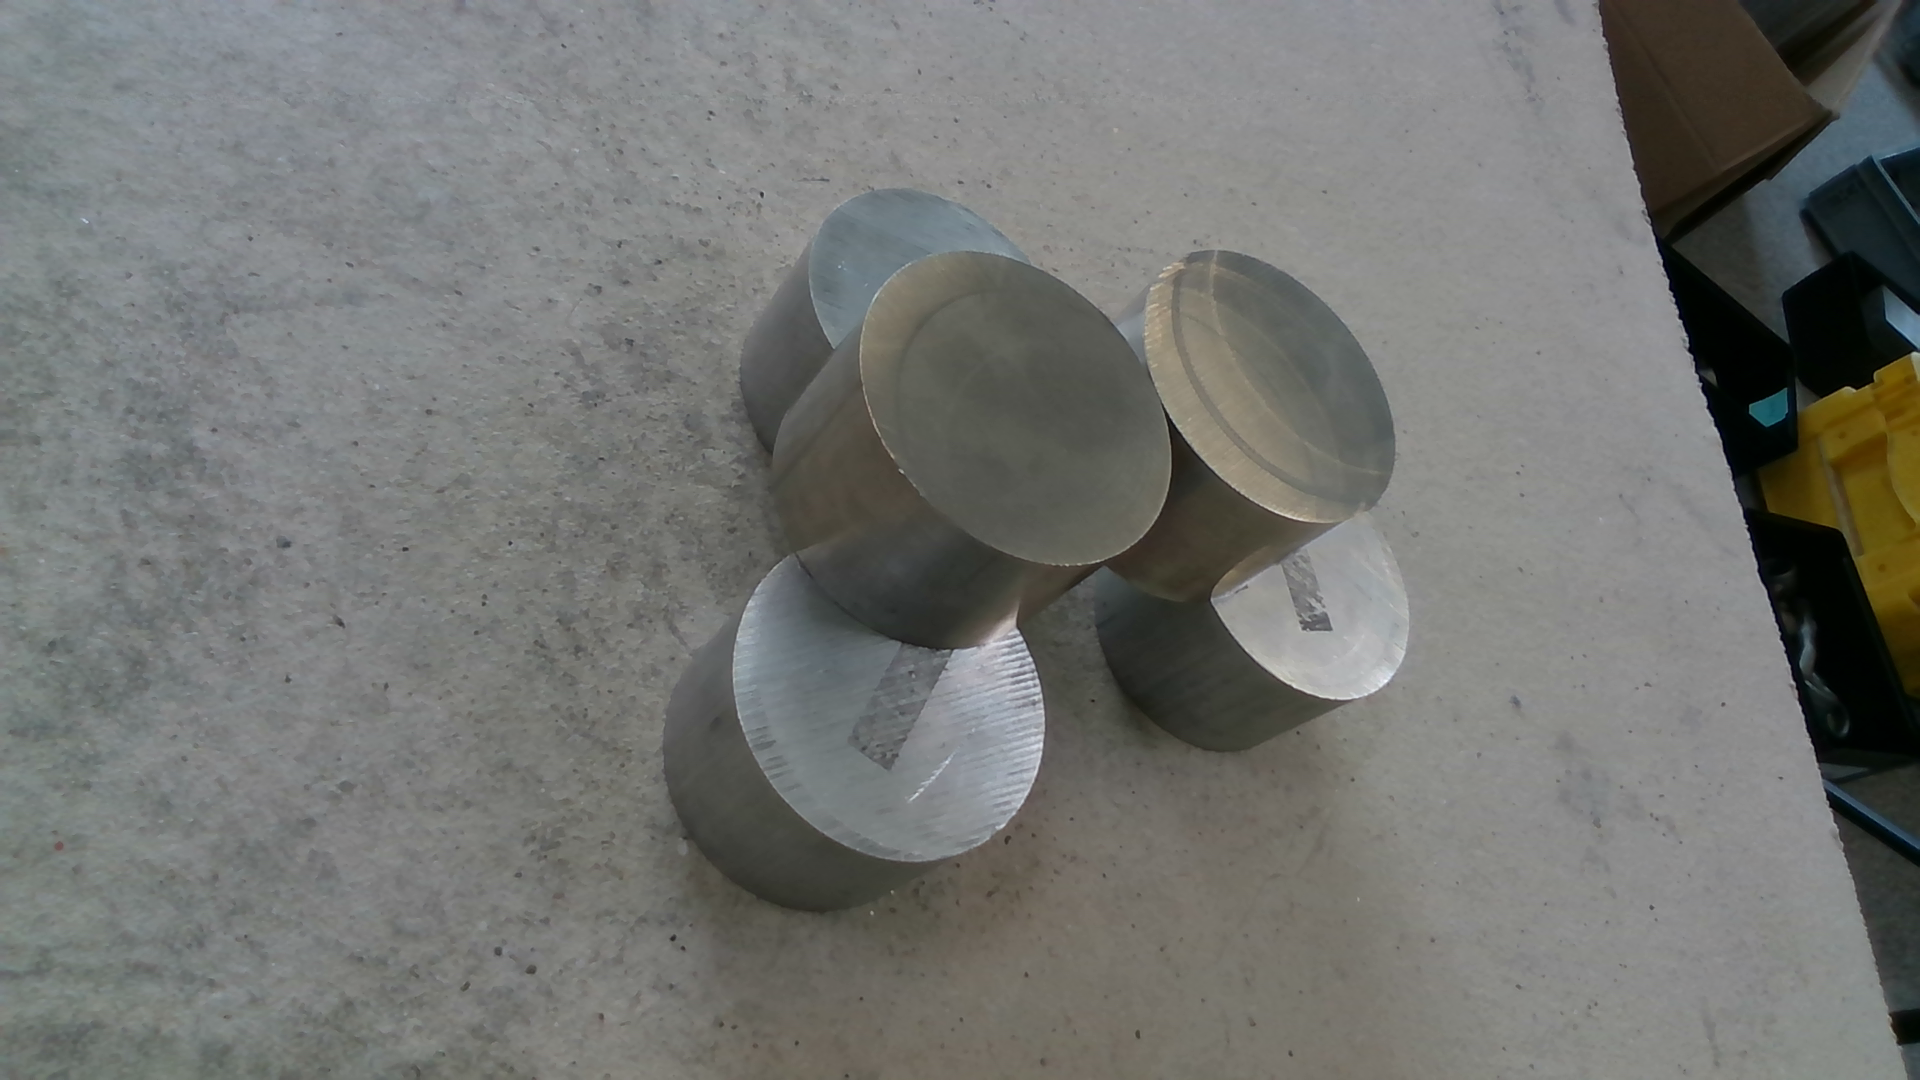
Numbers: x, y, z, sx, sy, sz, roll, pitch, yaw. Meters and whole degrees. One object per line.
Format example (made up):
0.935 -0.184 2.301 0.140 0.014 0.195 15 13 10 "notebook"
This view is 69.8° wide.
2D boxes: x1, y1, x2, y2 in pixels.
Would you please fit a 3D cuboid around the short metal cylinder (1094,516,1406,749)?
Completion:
0.088 0.019 0.422 0.080 0.050 0.080 14 59 -25 "short metal cylinder"

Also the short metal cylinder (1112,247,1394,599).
0.068 -0.030 0.370 0.080 0.050 0.080 15 58 -25 "short metal cylinder"

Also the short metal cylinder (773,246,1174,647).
0.003 -0.021 0.324 0.080 0.050 0.080 14 59 -25 "short metal cylinder"

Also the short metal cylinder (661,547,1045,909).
-0.026 0.045 0.337 0.080 0.050 0.080 14 59 -25 "short metal cylinder"

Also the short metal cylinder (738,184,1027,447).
-0.017 -0.054 0.395 0.080 0.050 0.080 14 59 -25 "short metal cylinder"
